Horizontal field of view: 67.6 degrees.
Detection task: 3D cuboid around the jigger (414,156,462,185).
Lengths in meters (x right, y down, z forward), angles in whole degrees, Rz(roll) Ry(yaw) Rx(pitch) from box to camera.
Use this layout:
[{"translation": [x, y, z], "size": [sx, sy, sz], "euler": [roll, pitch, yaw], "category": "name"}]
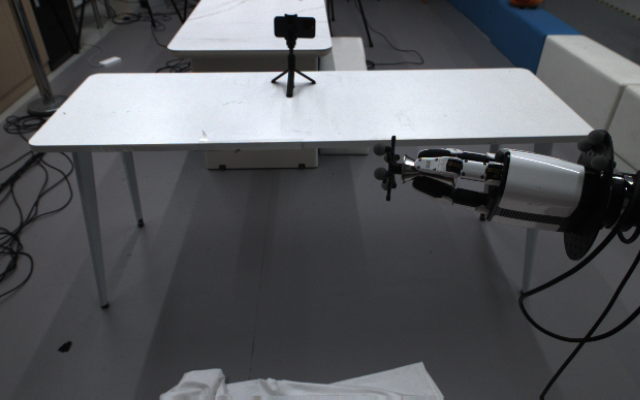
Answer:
[{"translation": [0.152, -0.044, 0.642], "size": [0.071, 0.043, 0.043], "euler": [4, 34, 18], "category": "jigger"}]
